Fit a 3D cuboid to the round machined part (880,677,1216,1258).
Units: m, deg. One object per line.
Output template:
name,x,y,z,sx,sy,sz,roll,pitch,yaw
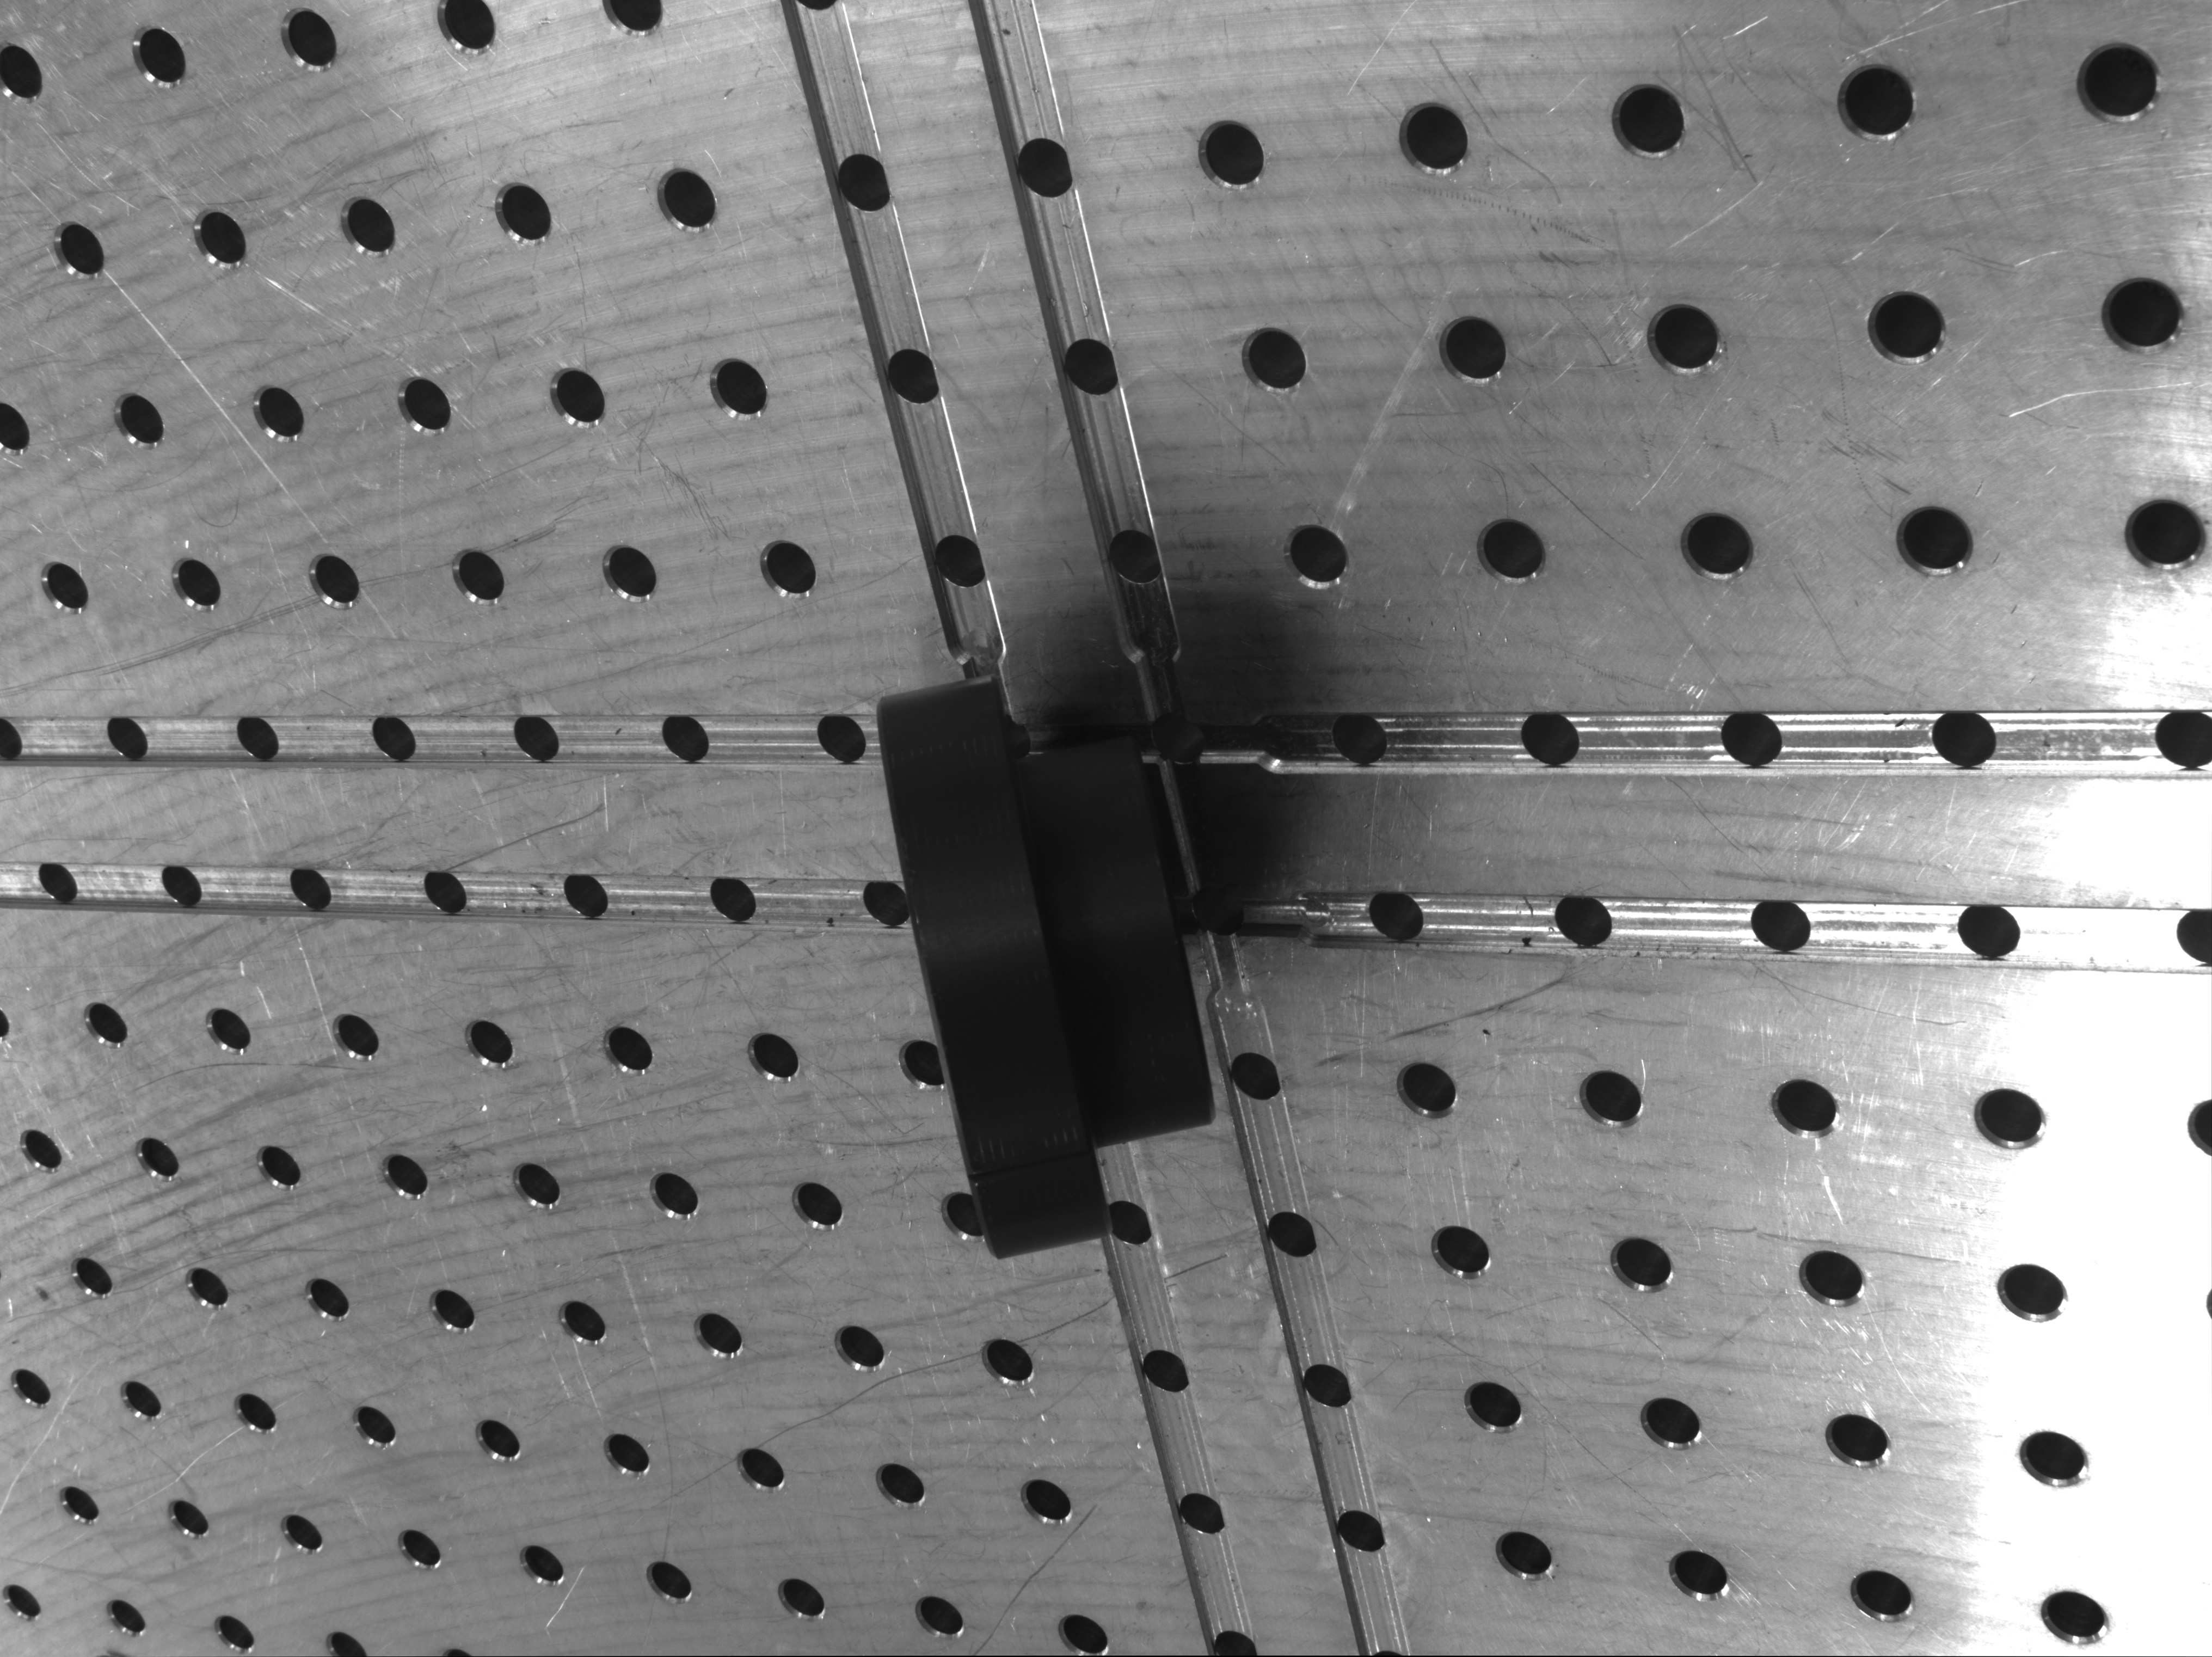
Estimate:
round machined part,-0.008,0.021,0.629,0.042,0.098,0.098,-12,116,0
